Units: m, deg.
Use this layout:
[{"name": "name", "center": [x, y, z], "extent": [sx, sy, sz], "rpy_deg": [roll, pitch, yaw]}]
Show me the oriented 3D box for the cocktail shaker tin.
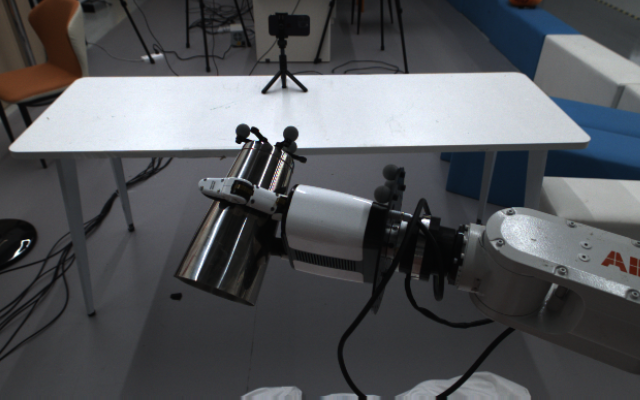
[{"name": "cocktail shaker tin", "center": [-0.086, 0.023, 0.545], "extent": [0.093, 0.093, 0.170], "rpy_deg": [13, 70, 15]}]
